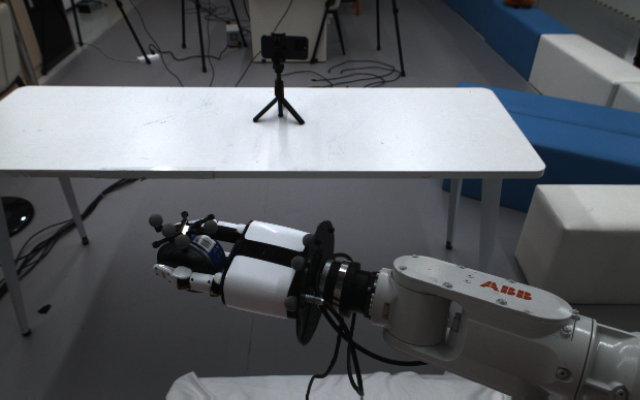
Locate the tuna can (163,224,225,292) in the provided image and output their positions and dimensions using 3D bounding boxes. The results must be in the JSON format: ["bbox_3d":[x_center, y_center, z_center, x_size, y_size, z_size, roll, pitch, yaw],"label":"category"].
[{"bbox_3d":[-0.167,0.080,0.643,0.085,0.085,0.034,11,33,13],"label":"tuna can"}]
